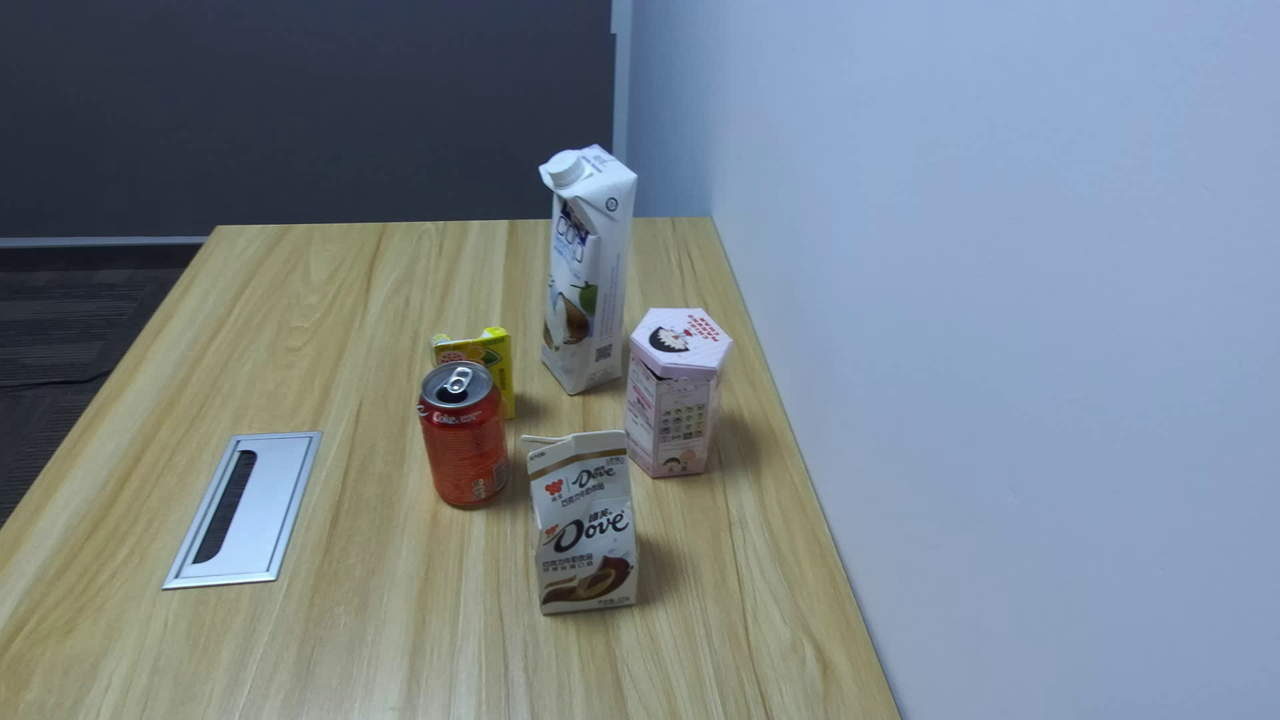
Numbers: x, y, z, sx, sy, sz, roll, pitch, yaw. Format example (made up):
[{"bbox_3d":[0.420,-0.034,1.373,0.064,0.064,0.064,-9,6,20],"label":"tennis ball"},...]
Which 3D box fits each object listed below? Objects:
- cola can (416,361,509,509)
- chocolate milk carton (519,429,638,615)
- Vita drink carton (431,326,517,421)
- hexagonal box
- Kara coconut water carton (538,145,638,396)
[{"bbox_3d":[-0.146,0.062,0.590,0.068,0.120,0.067,1,38,0],"label":"cola can"},{"bbox_3d":[-0.038,0.108,0.508,0.084,0.155,0.073,-3,41,-7],"label":"chocolate milk carton"},{"bbox_3d":[-0.155,0.011,0.658,0.071,0.110,0.046,-11,43,-16],"label":"Vita drink carton"},{"bbox_3d":[0.029,0.030,0.619,0.085,0.135,0.091,-23,46,-29],"label":"hexagonal box"},{"bbox_3d":[-0.051,-0.081,0.662,0.071,0.244,0.099,-21,45,-27],"label":"Kara coconut water carton"}]
